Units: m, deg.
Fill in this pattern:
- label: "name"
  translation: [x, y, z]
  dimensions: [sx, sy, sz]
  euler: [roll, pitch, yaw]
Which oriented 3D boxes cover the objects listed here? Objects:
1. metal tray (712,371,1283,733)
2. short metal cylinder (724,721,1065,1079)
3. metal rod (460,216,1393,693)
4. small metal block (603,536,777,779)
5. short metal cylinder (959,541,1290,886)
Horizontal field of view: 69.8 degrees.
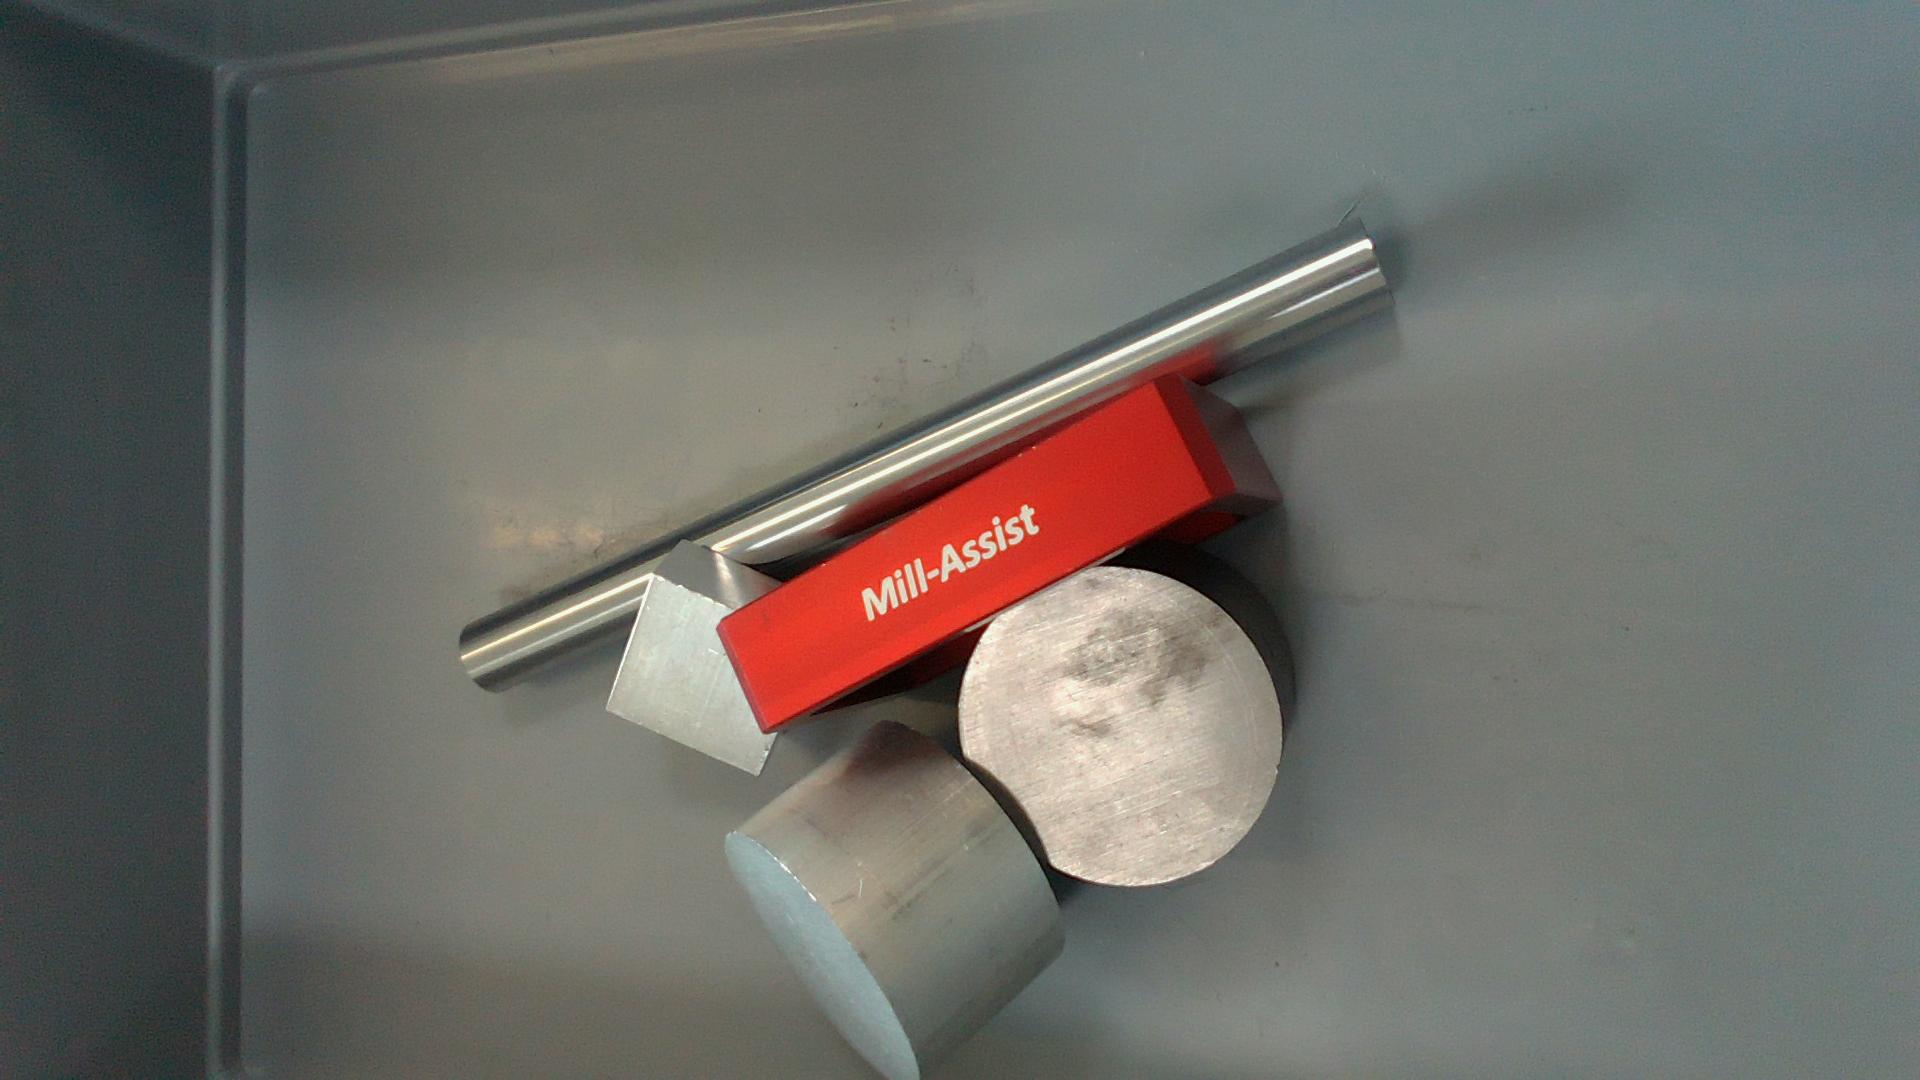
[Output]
- label: "metal tray"
  translation: [0.013, 0.005, 0.355]
  dimensions: [0.130, 0.090, 0.030]
  euler: [-28, 81, 18]
- label: "short metal cylinder"
  translation: [-0.018, 0.096, 0.365]
  dimensions: [0.050, 0.080, 0.080]
  euler: [-35, 75, -26]
- label: "metal rod"
  translation: [-0.024, -0.017, 0.403]
  dimensions: [0.299, 0.025, 0.025]
  euler: [-23, 82, 18]
- label: "small metal block"
  translation: [-0.071, 0.035, 0.407]
  dimensions: [0.050, 0.025, 0.050]
  euler: [24, 115, -1]
- label: "short metal cylinder"
  translation: [0.045, 0.043, 0.360]
  dimensions: [0.080, 0.050, 0.080]
  euler: [2, 99, 16]
